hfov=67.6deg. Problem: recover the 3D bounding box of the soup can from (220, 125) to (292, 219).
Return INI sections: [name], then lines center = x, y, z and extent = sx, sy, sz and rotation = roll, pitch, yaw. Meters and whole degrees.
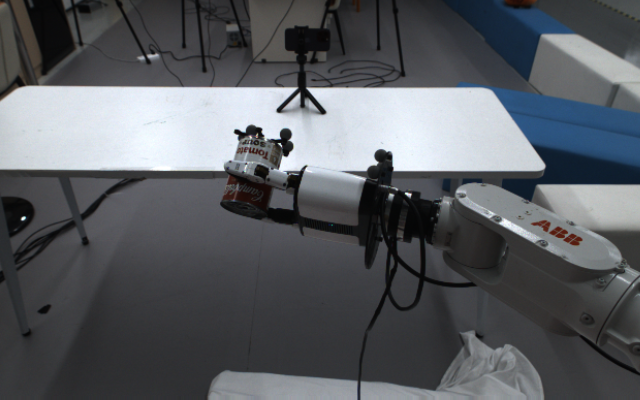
[soup can]
center = -0.096, -0.032, 0.691
extent = 0.067, 0.067, 0.101
rotation = 9, 72, 10
